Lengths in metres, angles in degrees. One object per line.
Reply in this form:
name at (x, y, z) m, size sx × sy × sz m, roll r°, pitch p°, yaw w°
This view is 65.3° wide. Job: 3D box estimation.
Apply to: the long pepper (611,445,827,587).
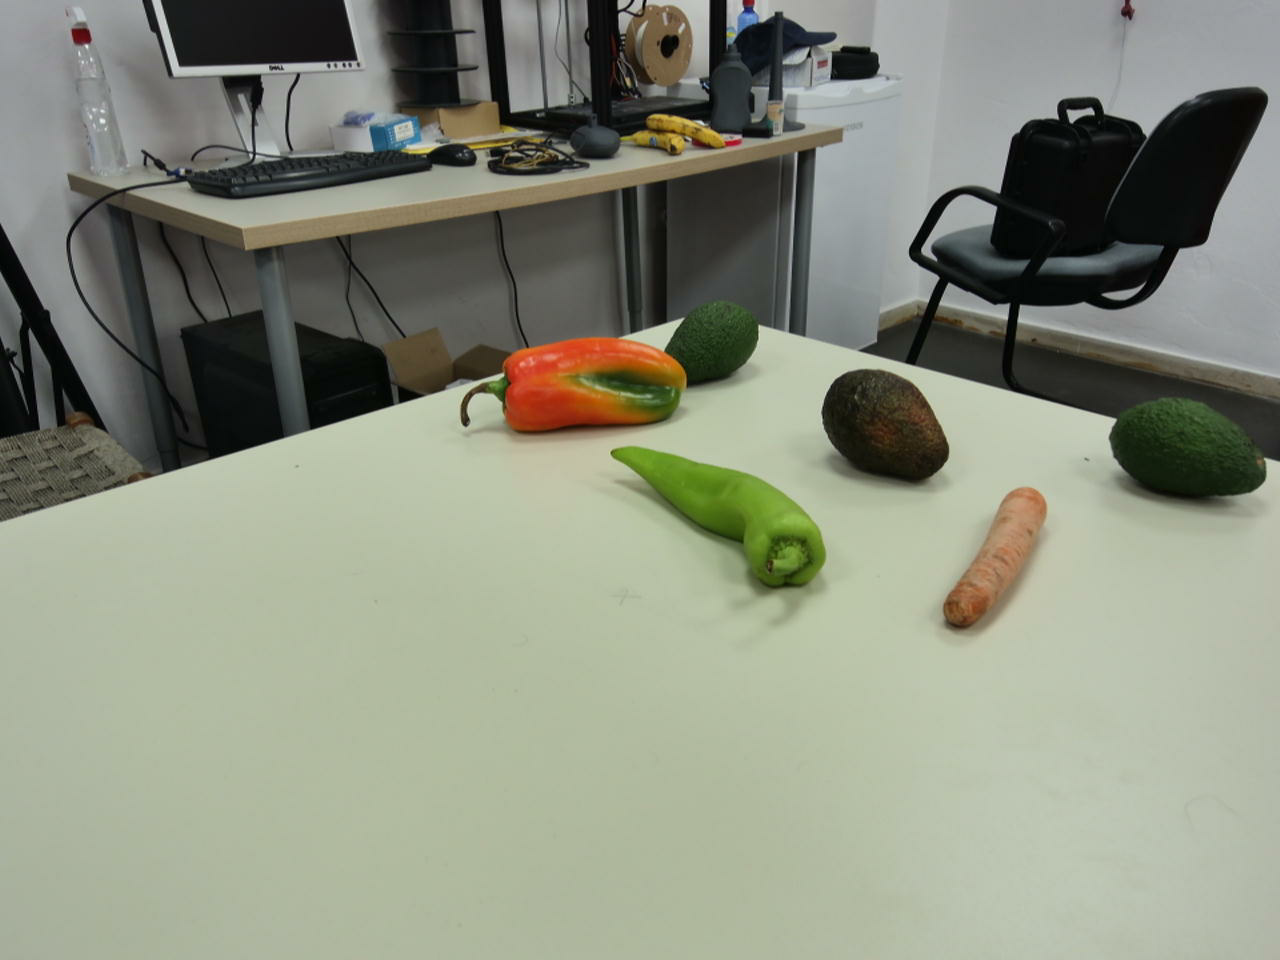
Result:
long pepper at (0.052, 0.014, 0.632) m, size 0.065 × 0.045 × 0.204 m, roll -11°, pitch 27°, yaw -24°
